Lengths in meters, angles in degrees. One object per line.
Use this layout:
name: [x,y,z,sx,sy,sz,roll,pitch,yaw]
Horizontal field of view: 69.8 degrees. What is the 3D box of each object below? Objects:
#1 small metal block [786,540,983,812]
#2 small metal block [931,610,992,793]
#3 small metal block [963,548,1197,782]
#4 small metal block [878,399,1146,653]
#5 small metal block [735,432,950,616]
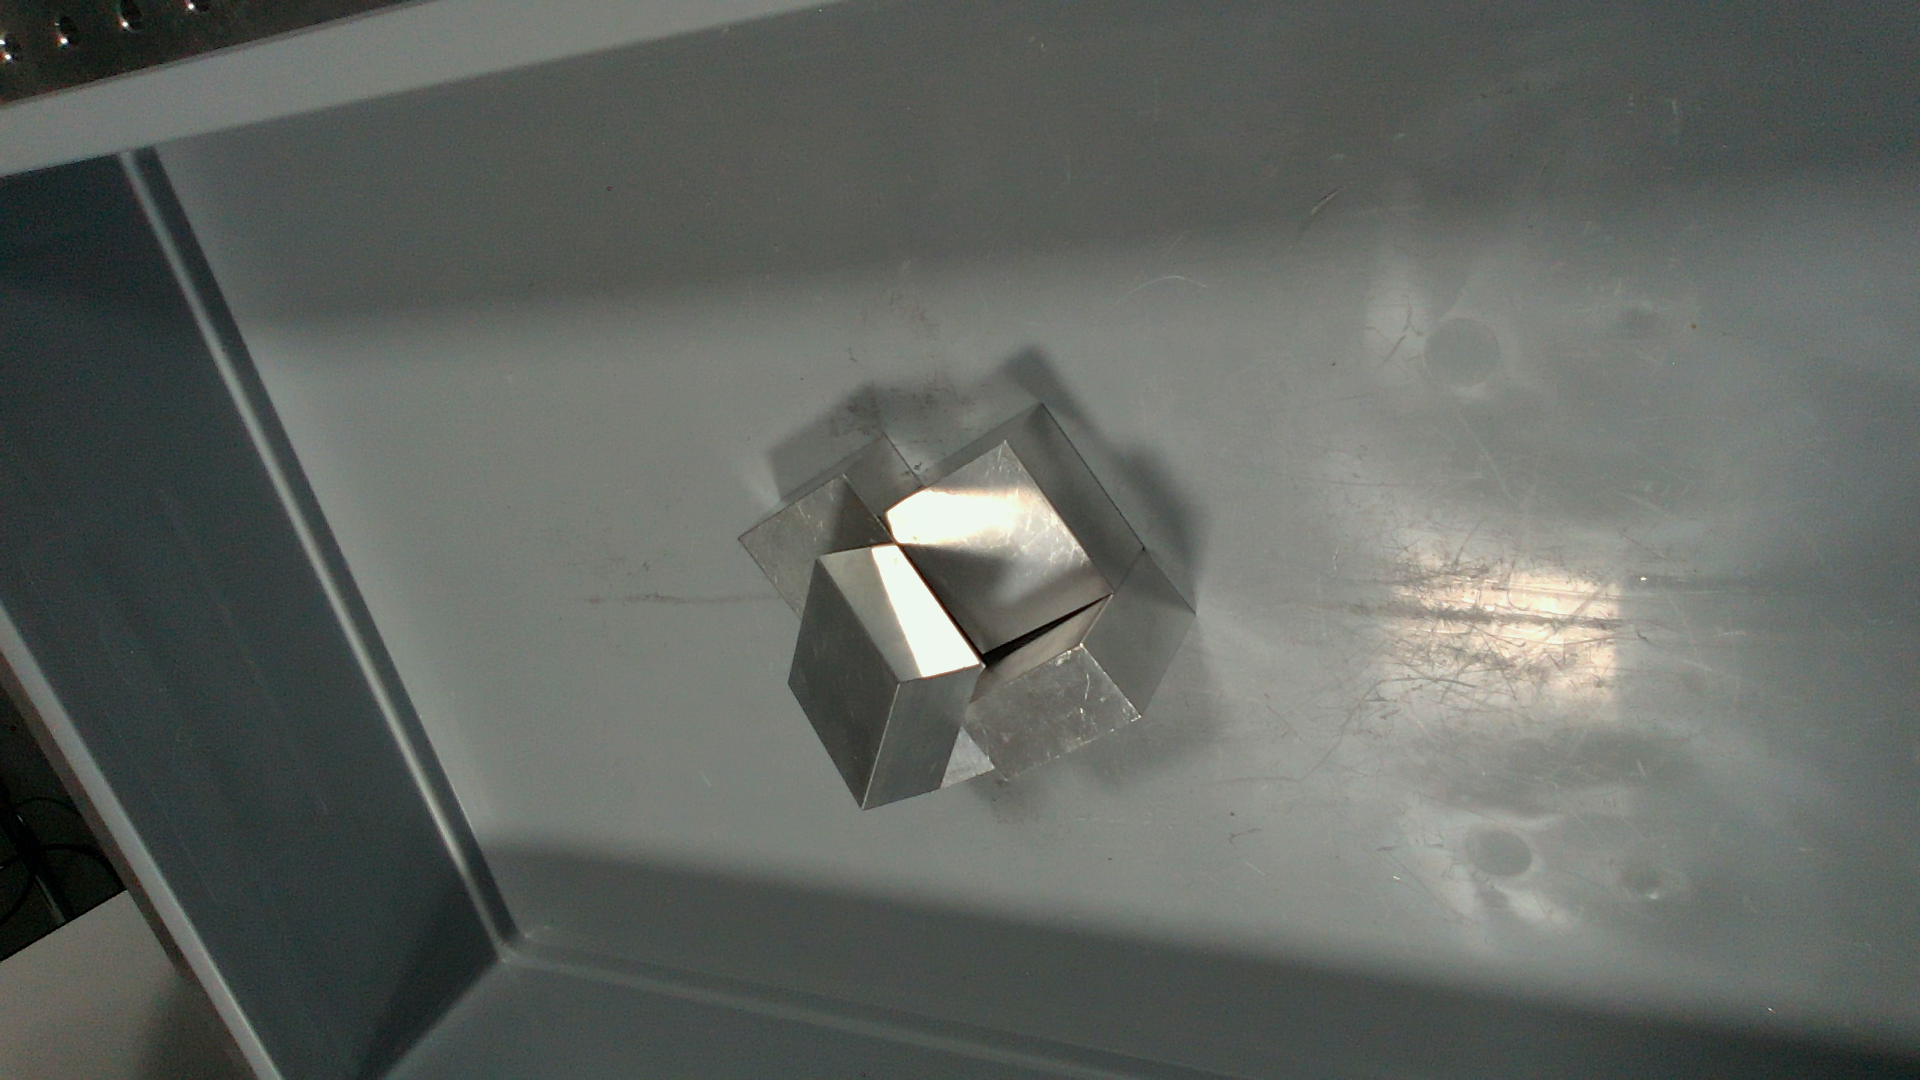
small metal block: [-0.023,0.037,0.378,0.050,0.025,0.050,52,139,37]
small metal block: [-0.001,0.044,0.419,0.050,0.025,0.050,-28,103,37]
small metal block: [0.032,0.034,0.379,0.050,0.050,0.025,-32,100,37]
small metal block: [0.014,-0.003,0.382,0.050,0.025,0.050,-28,103,37]
small metal block: [-0.030,0.004,0.410,0.050,0.025,0.050,-28,103,37]
